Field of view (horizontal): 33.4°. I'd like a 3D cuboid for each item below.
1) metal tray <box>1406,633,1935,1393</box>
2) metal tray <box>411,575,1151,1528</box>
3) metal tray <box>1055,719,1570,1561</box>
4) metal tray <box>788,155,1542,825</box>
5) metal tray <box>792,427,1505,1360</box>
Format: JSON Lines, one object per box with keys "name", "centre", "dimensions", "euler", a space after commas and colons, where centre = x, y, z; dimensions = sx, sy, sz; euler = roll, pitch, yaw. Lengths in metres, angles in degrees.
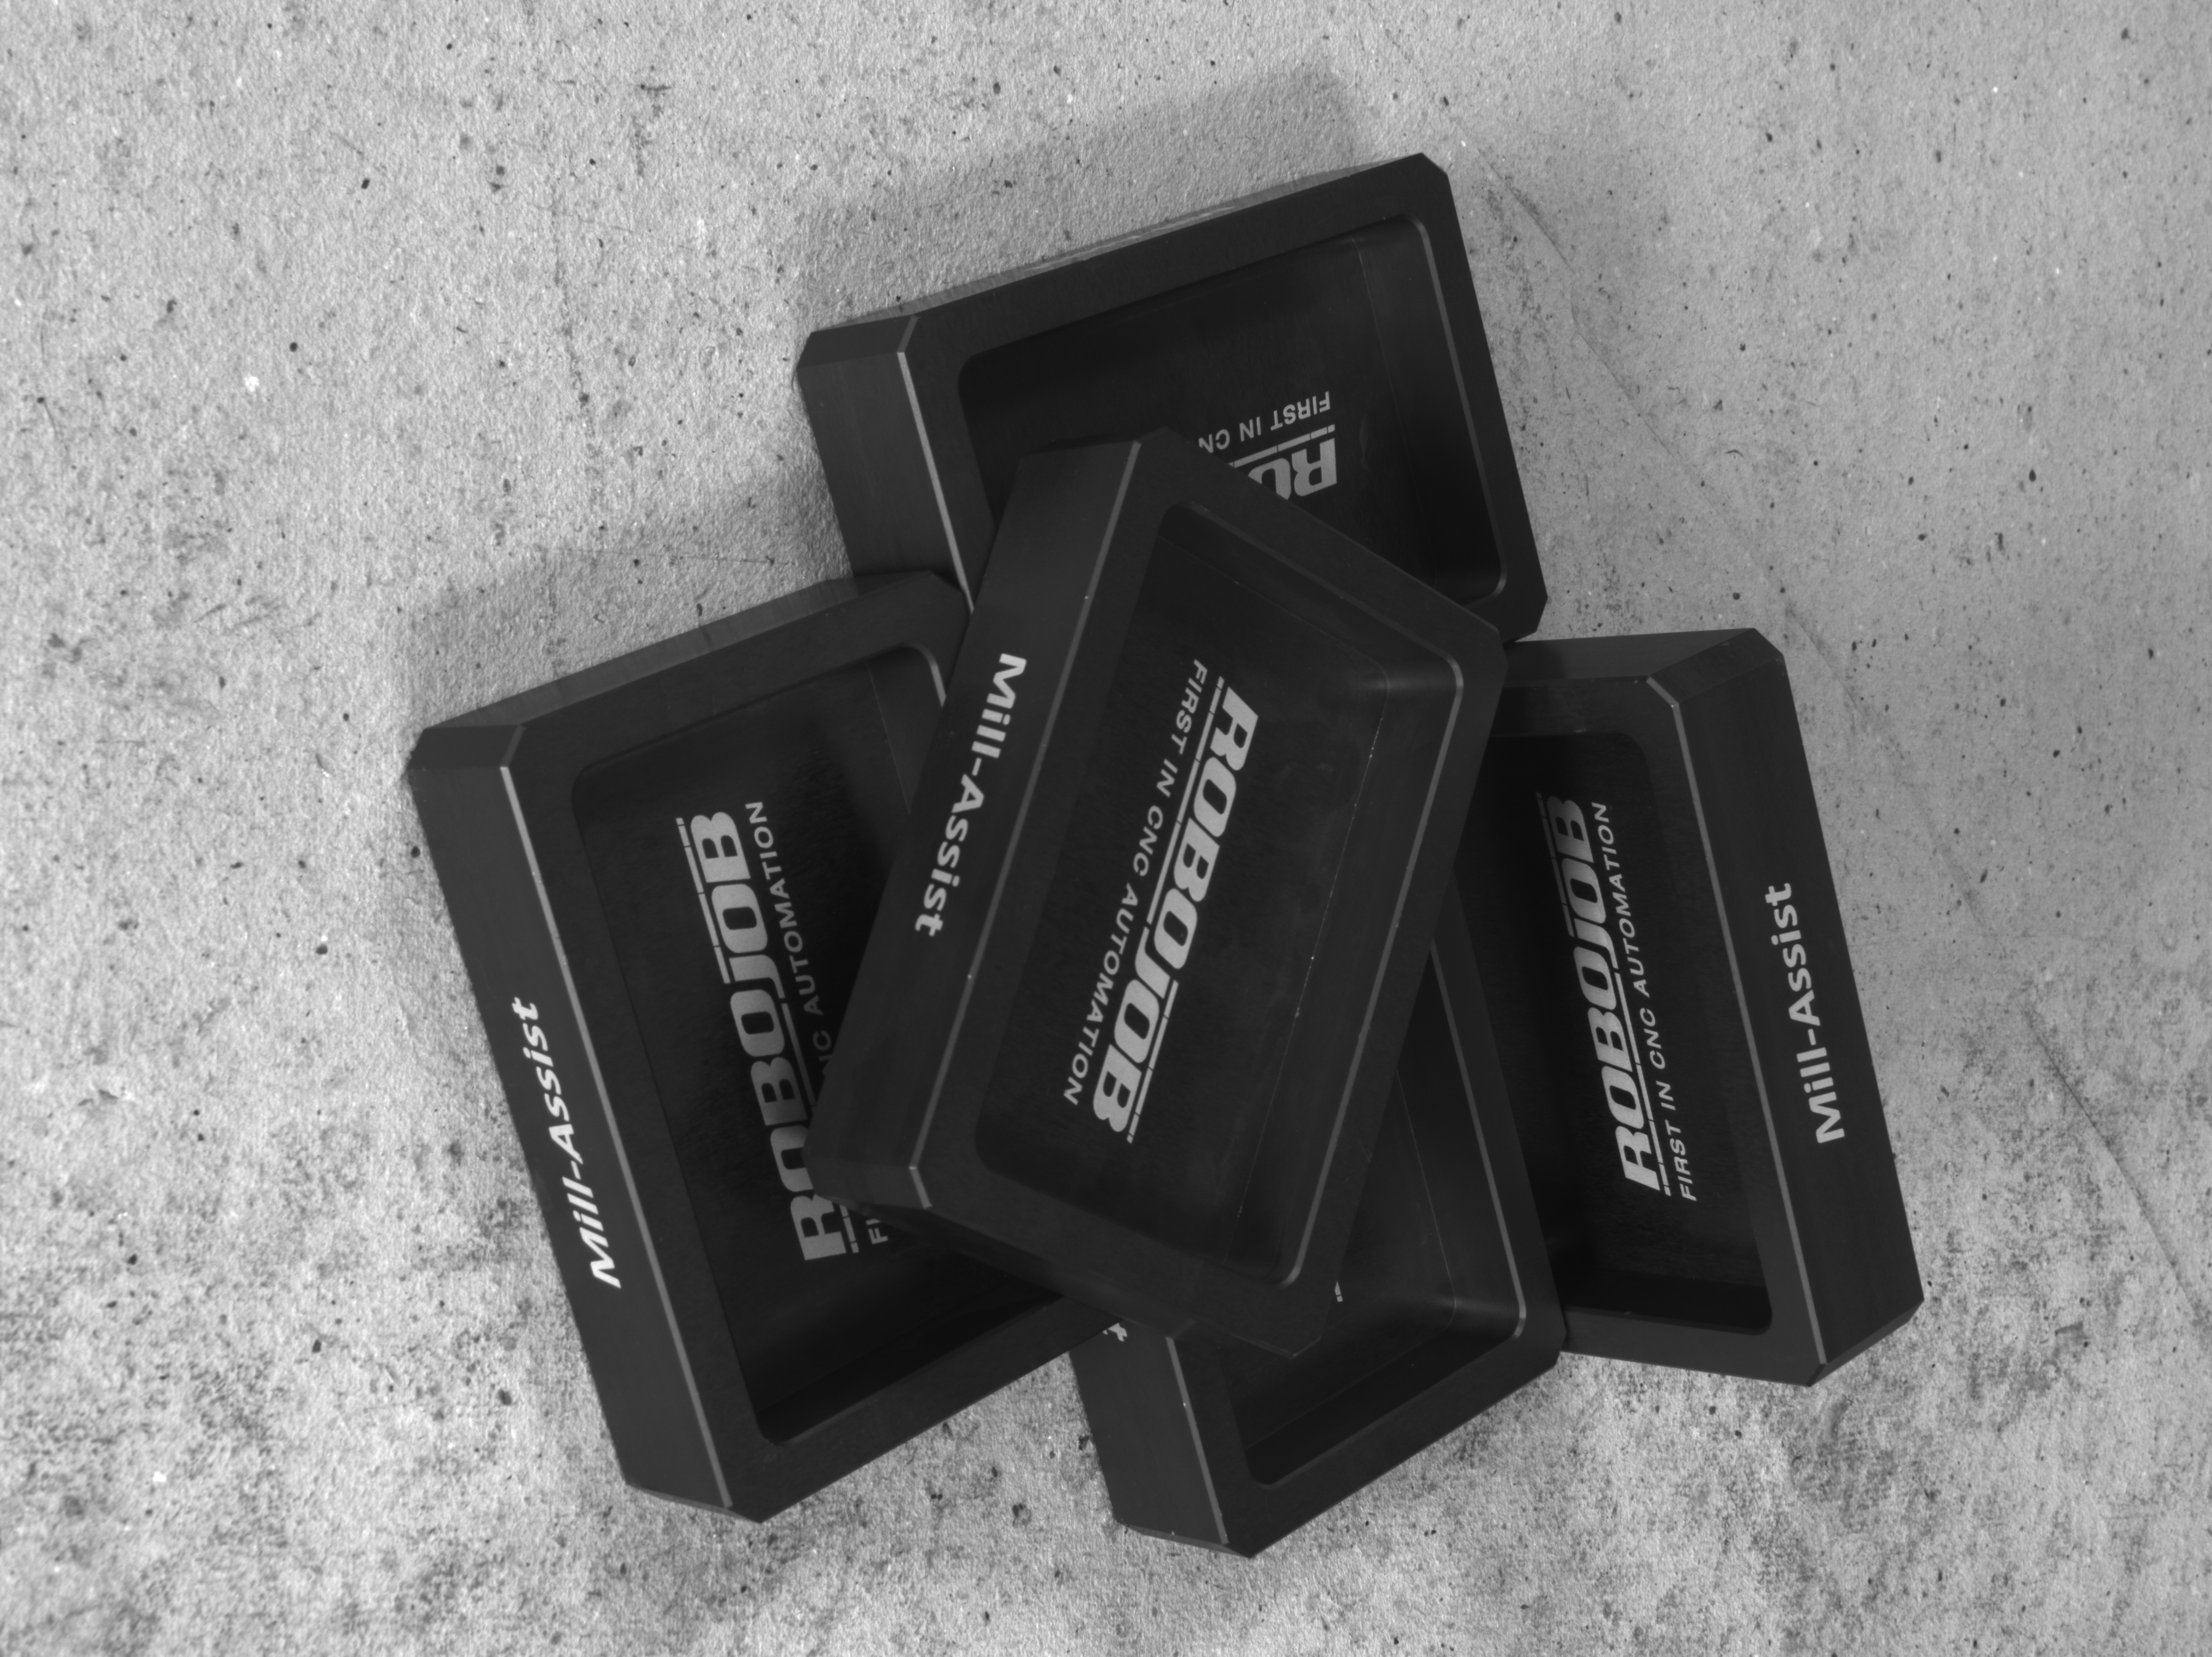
{"name": "metal tray", "centre": [0.094, 0.032, 0.670], "dimensions": [0.030, 0.090, 0.130], "euler": [-23, 105, -38]}
{"name": "metal tray", "centre": [-0.049, 0.034, 0.591], "dimensions": [0.090, 0.030, 0.130], "euler": [-24, 104, -37]}
{"name": "metal tray", "centre": [0.030, 0.052, 0.655], "dimensions": [0.090, 0.030, 0.130], "euler": [-24, 106, -36]}
{"name": "metal tray", "centre": [0.014, -0.059, 0.646], "dimensions": [0.130, 0.030, 0.090], "euler": [-23, 104, -37]}
{"name": "metal tray", "centre": [0.010, 0.012, 0.604], "dimensions": [0.090, 0.030, 0.130], "euler": [27, 74, -36]}
